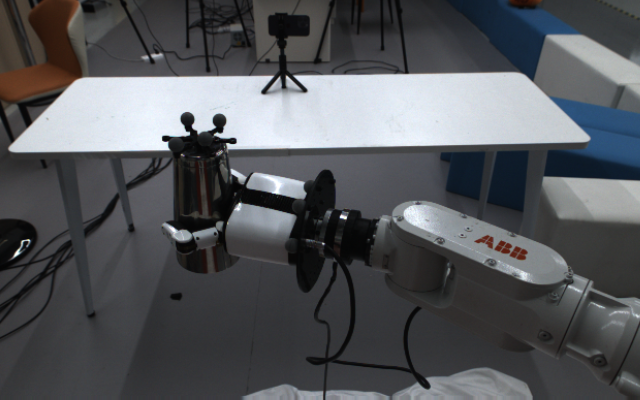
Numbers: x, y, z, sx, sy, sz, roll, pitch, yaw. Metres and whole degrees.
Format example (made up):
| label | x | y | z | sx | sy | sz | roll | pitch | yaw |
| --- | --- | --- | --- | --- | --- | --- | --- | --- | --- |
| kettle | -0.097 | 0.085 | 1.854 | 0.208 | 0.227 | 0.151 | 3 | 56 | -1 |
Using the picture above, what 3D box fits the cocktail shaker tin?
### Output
| label | x | y | z | sx | sy | sz | roll | pitch | yaw |
| --- | --- | --- | --- | --- | --- | --- | --- | --- | --- |
| cocktail shaker tin | -0.151 | 0.003 | 0.641 | 0.093 | 0.170 | 0.093 | 3 | 34 | -2 |
